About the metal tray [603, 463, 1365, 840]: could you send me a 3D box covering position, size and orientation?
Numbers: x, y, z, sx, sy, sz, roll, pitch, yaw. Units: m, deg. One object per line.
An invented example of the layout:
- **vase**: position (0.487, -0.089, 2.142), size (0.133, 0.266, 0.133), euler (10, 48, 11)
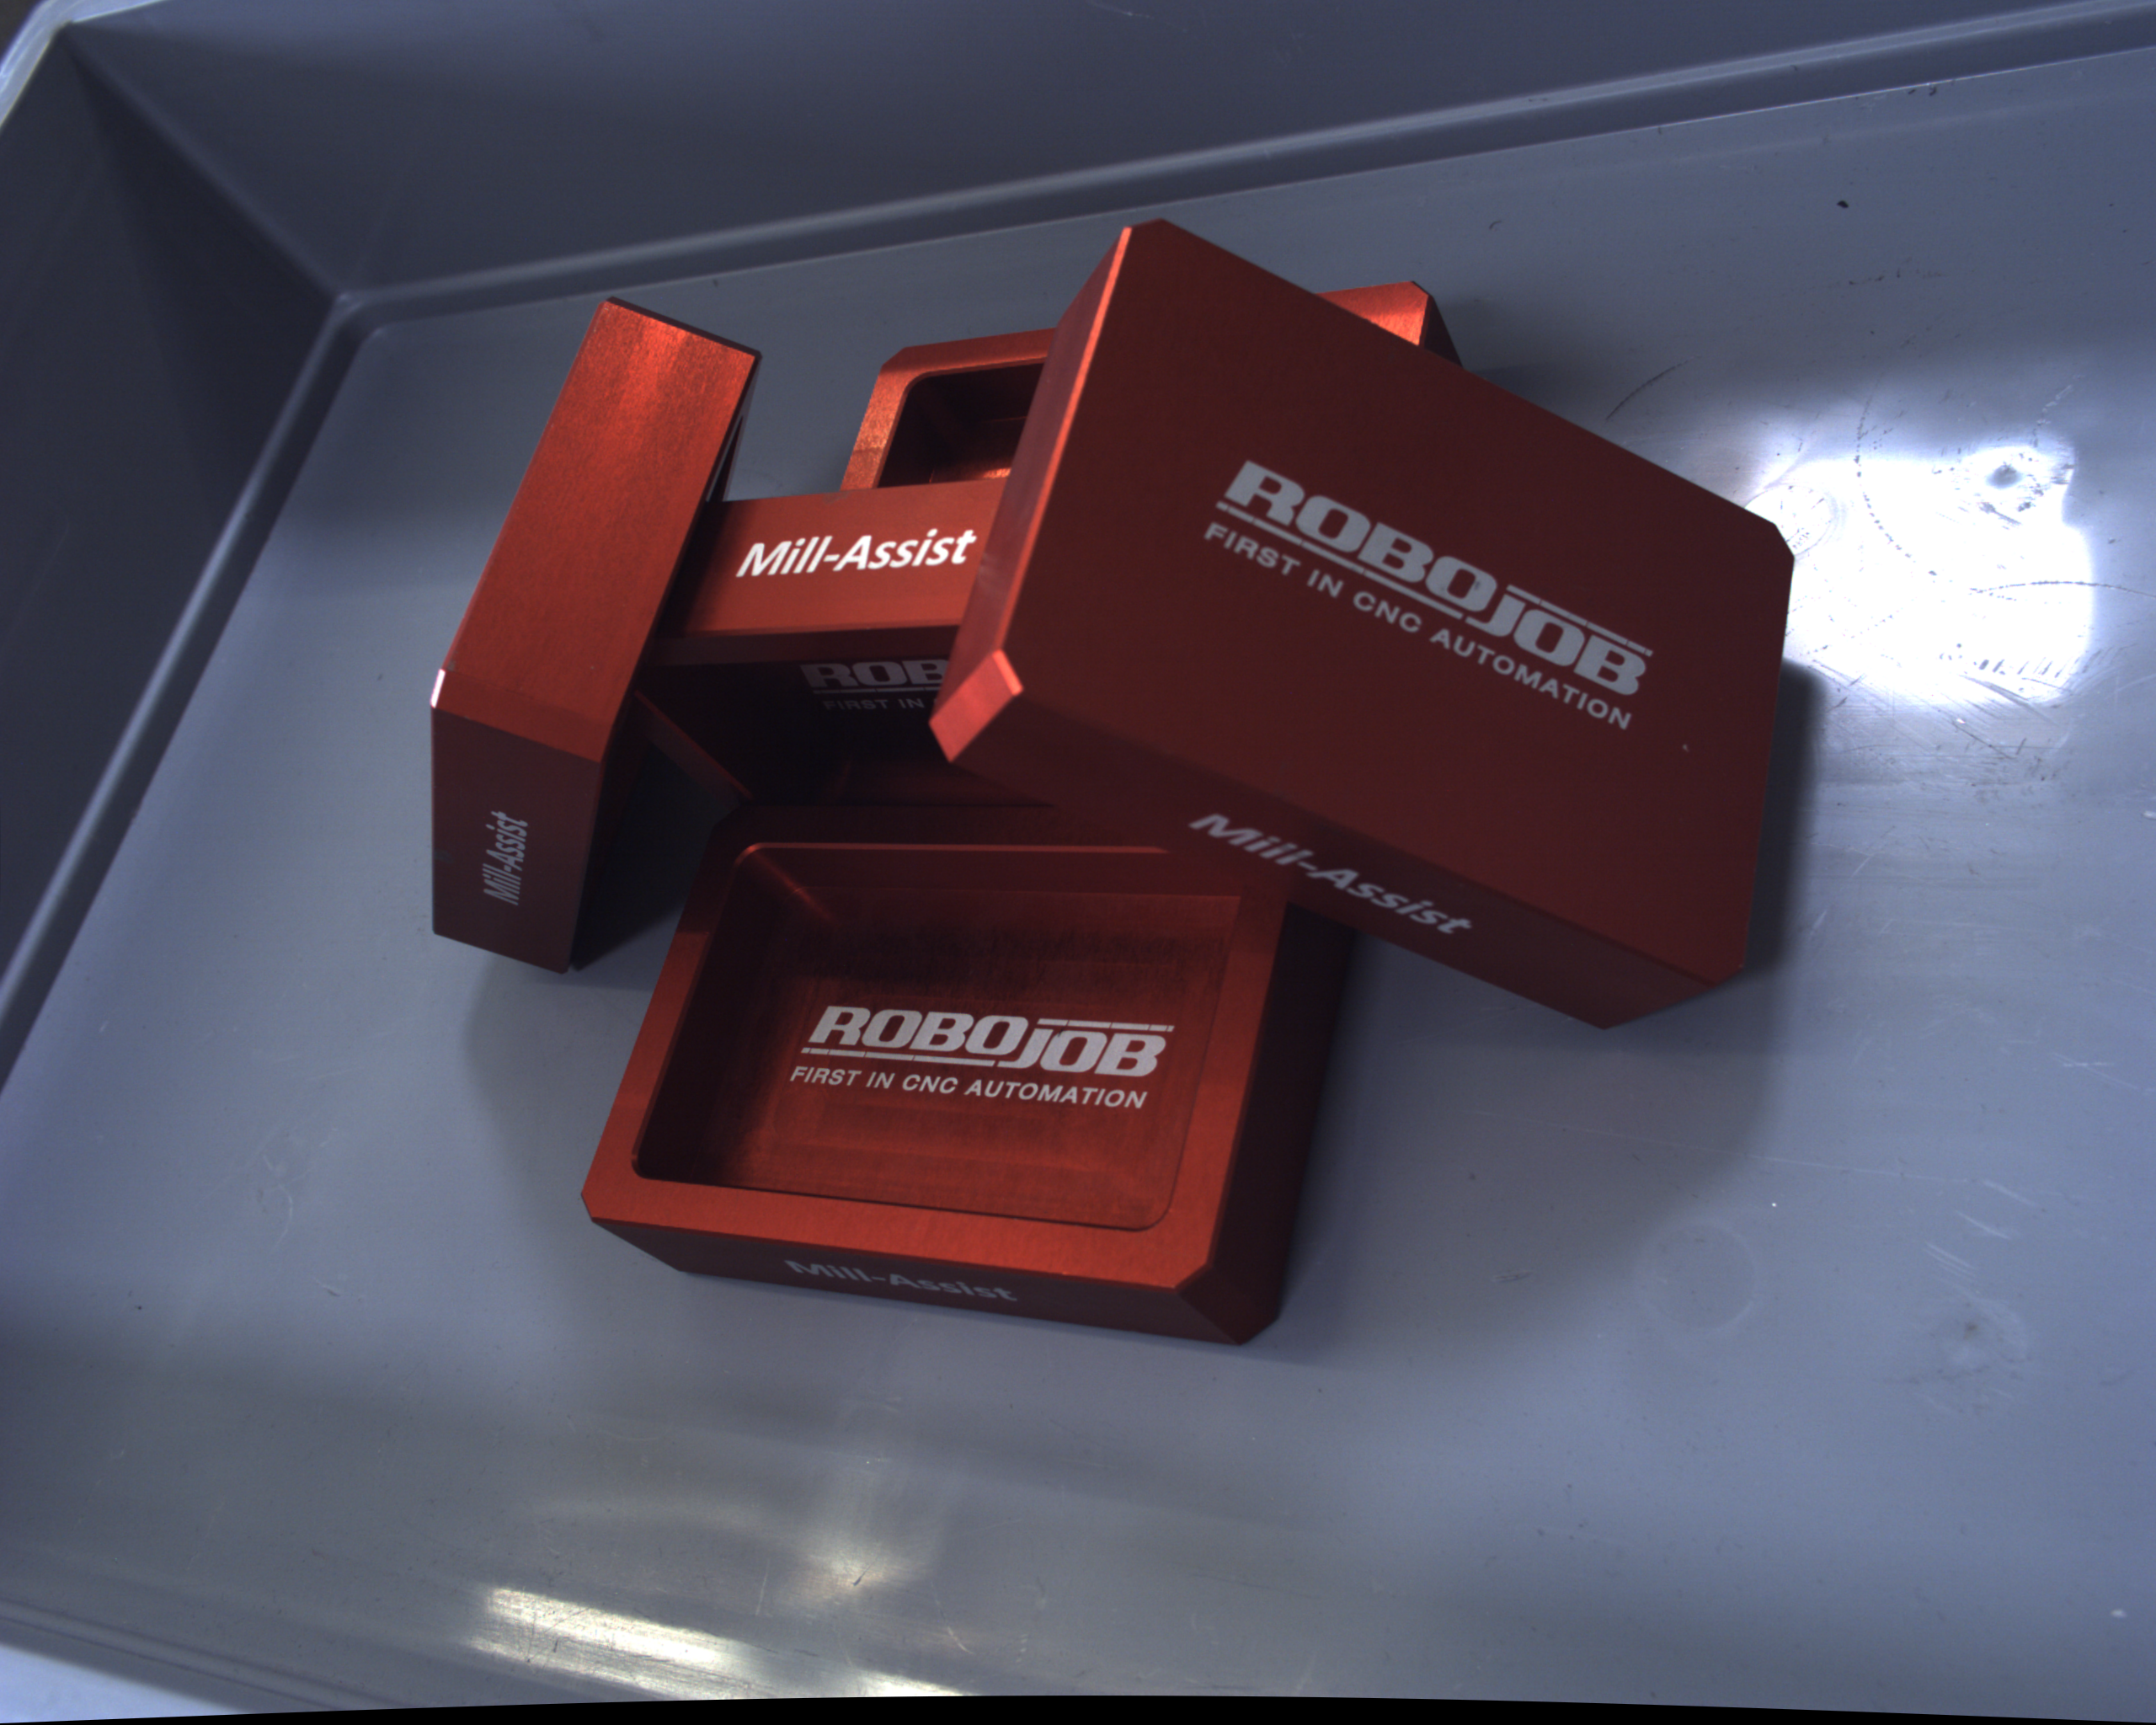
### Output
- **metal tray**: position (-0.020, -0.032, 0.392), size (0.130, 0.090, 0.030), euler (1, 62, 28)

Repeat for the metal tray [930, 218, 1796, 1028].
- **metal tray**: position (0.051, -0.037, 0.341), size (0.030, 0.131, 0.090), euler (-40, 31, 61)

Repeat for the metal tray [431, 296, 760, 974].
- **metal tray**: position (-0.100, -0.040, 0.422), size (0.030, 0.129, 0.090), euler (19, 65, -9)

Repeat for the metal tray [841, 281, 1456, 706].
- **metal tray**: position (0.010, -0.071, 0.439), size (0.130, 0.030, 0.090), euler (0, 62, 27)

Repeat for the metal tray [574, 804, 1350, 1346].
- **metal tray**: position (-0.022, 0.035, 0.388), size (0.130, 0.030, 0.090), euler (1, 62, 28)
